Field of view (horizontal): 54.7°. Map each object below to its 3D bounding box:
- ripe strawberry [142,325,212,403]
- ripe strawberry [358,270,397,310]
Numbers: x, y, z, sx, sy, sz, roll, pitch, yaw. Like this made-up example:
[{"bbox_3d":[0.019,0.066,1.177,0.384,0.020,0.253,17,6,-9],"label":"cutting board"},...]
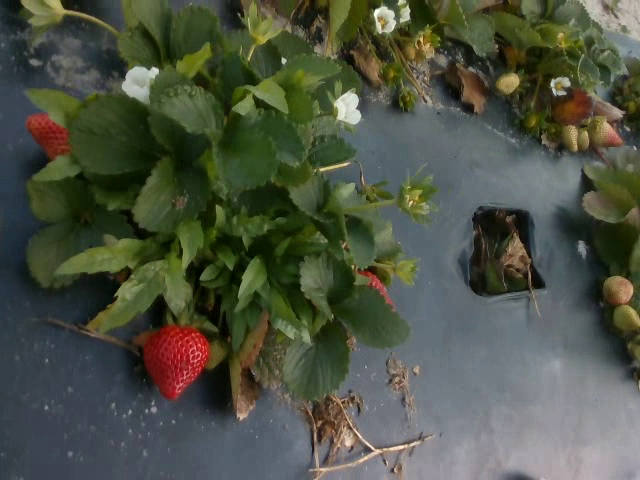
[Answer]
[{"bbox_3d":[-0.090,0.075,0.368,0.043,0.051,0.042,20,-31,-32],"label":"ripe strawberry"},{"bbox_3d":[0.039,0.046,0.464,0.046,0.043,0.047,30,-12,-1],"label":"ripe strawberry"}]
